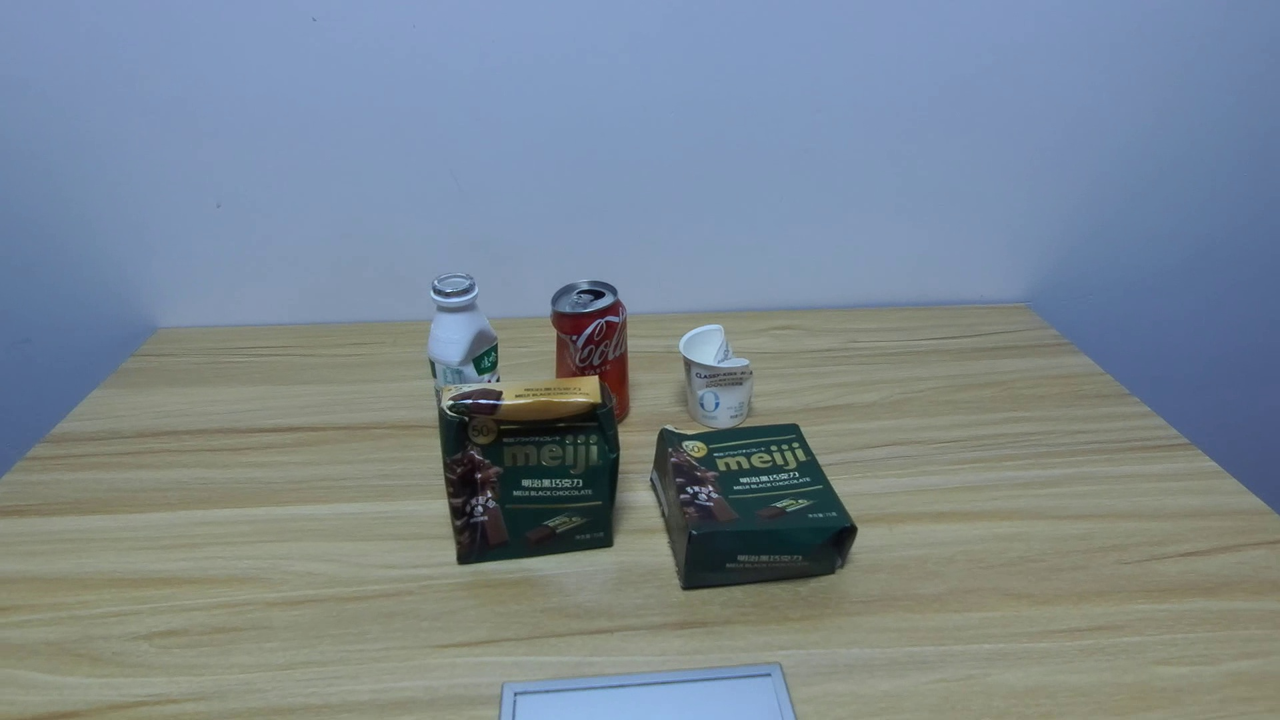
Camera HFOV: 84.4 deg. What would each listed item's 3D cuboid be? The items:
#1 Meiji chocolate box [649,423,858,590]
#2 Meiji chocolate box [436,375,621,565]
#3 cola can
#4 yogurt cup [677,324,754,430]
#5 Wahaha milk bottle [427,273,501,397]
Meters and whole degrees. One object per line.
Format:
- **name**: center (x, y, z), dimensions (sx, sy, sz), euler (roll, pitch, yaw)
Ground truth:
- **Meiji chocolate box**: center (0.075, 0.098, 0.494), dimensions (0.116, 0.058, 0.122), euler (-1, 32, -10)
- **Meiji chocolate box**: center (-0.074, 0.072, 0.482), dimensions (0.117, 0.117, 0.051), euler (-4, 23, -7)
- **cola can**: center (-0.040, -0.004, 0.600), dimensions (0.065, 0.117, 0.072), euler (-8, 32, -14)
- **yogurt cup**: center (0.065, 0.017, 0.607), dimensions (0.067, 0.070, 0.067), euler (1, 33, -1)
- **Wahaha milk bottle**: center (-0.136, 0.007, 0.554), dimensions (0.056, 0.148, 0.056), euler (0, 24, 0)
